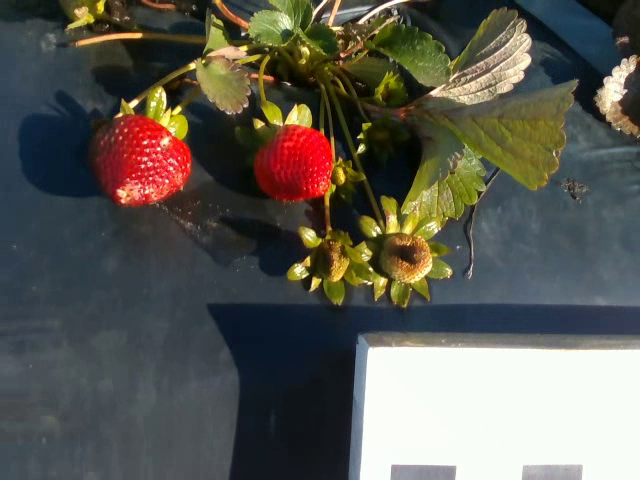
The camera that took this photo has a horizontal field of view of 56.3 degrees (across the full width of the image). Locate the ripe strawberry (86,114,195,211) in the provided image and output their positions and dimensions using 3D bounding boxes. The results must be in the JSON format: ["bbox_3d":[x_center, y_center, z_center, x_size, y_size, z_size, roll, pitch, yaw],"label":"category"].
[{"bbox_3d":[-0.080,-0.030,0.252,0.050,0.045,0.050,20,28,-11],"label":"ripe strawberry"}]

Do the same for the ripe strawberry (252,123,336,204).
[{"bbox_3d":[-0.008,-0.031,0.266,0.039,0.042,0.049,48,2,-38],"label":"ripe strawberry"}]
